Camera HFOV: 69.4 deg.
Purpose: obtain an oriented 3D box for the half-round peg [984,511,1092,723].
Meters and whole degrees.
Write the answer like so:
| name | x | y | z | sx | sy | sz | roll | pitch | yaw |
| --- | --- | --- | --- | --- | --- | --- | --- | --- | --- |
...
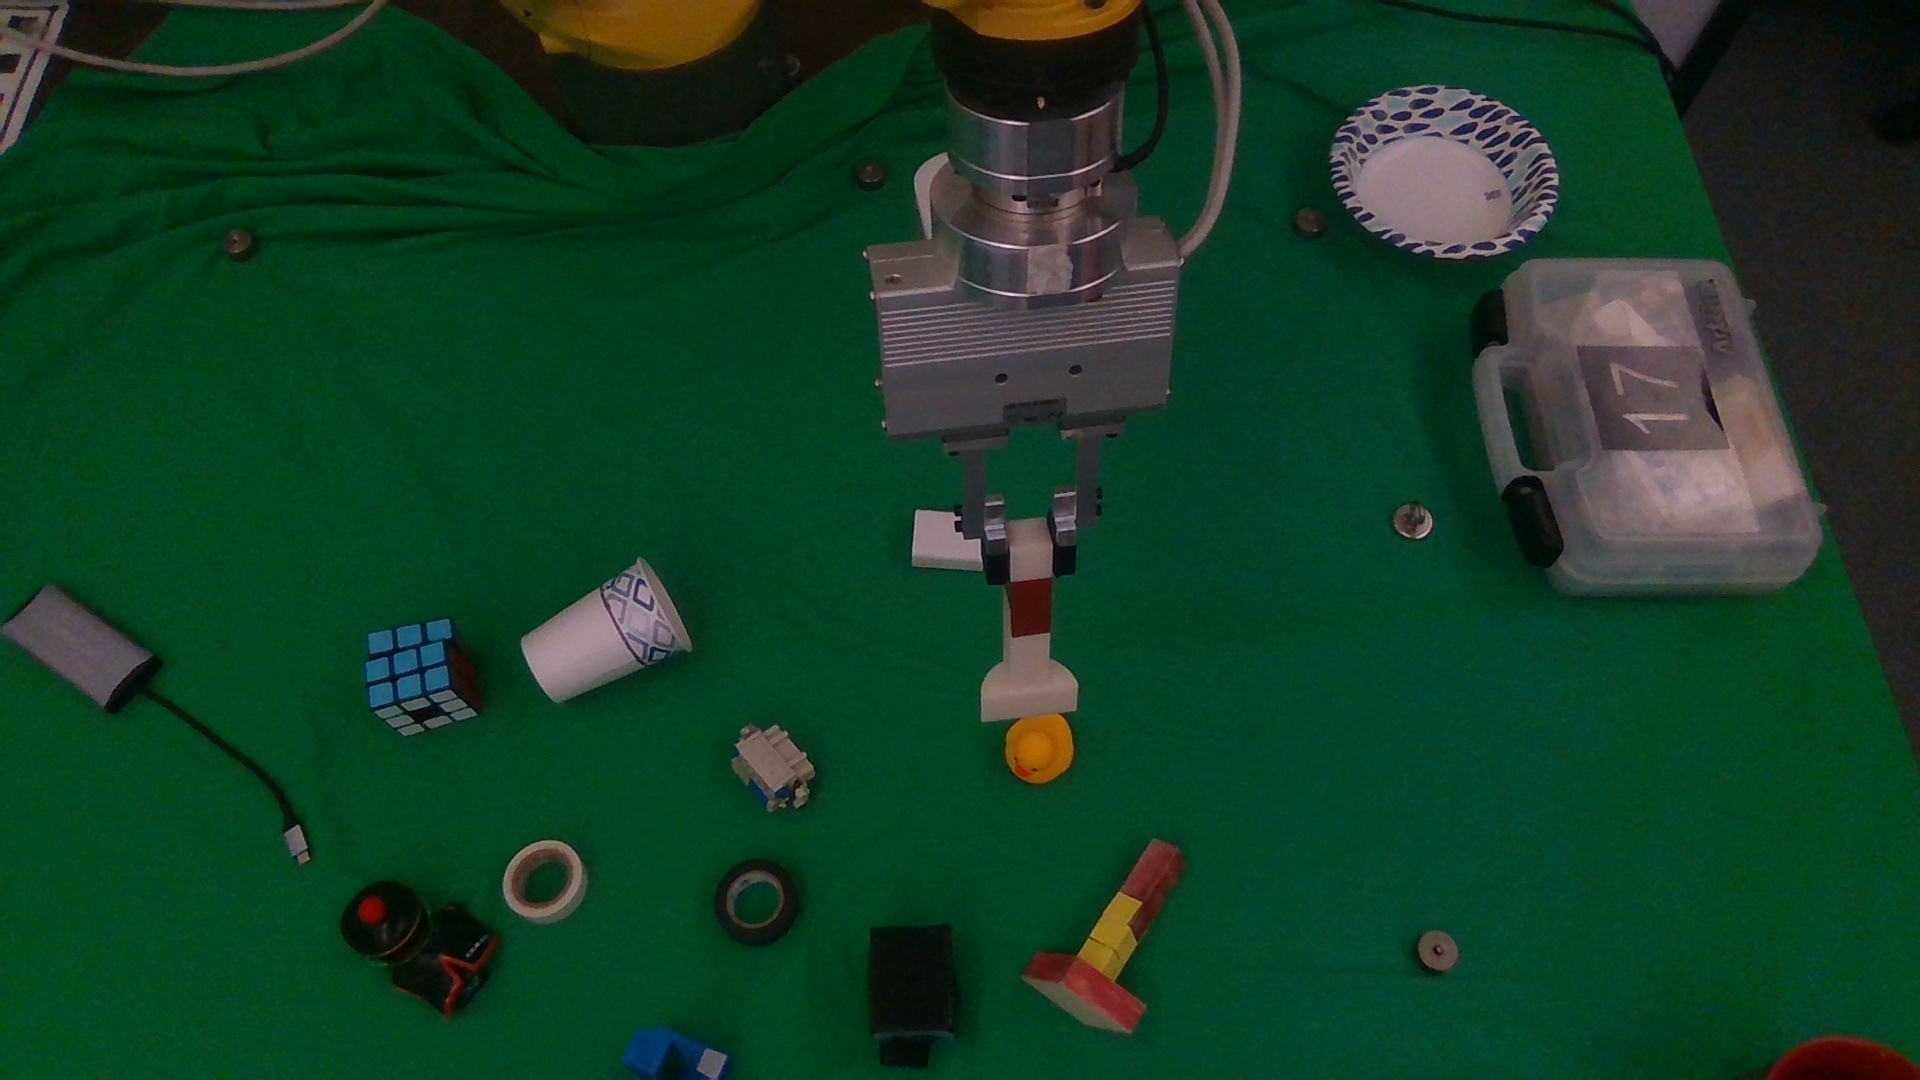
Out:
| name | x | y | z | sx | sy | sz | roll | pitch | yaw |
| --- | --- | --- | --- | --- | --- | --- | --- | --- | --- |
| half-round peg | 0.037 | 0.038 | 0.673 | 0.054 | 0.122 | 0.031 | -5 | 42 | -4 |

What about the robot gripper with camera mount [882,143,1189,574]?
| name | x | y | z | sx | sy | sz | roll | pitch | yaw |
| --- | --- | --- | --- | --- | --- | --- | --- | --- | --- |
| robot gripper with camera mount | 0.017 | -0.101 | 0.650 | 0.119 | 0.158 | 0.193 | -5 | 46 | -6 |
